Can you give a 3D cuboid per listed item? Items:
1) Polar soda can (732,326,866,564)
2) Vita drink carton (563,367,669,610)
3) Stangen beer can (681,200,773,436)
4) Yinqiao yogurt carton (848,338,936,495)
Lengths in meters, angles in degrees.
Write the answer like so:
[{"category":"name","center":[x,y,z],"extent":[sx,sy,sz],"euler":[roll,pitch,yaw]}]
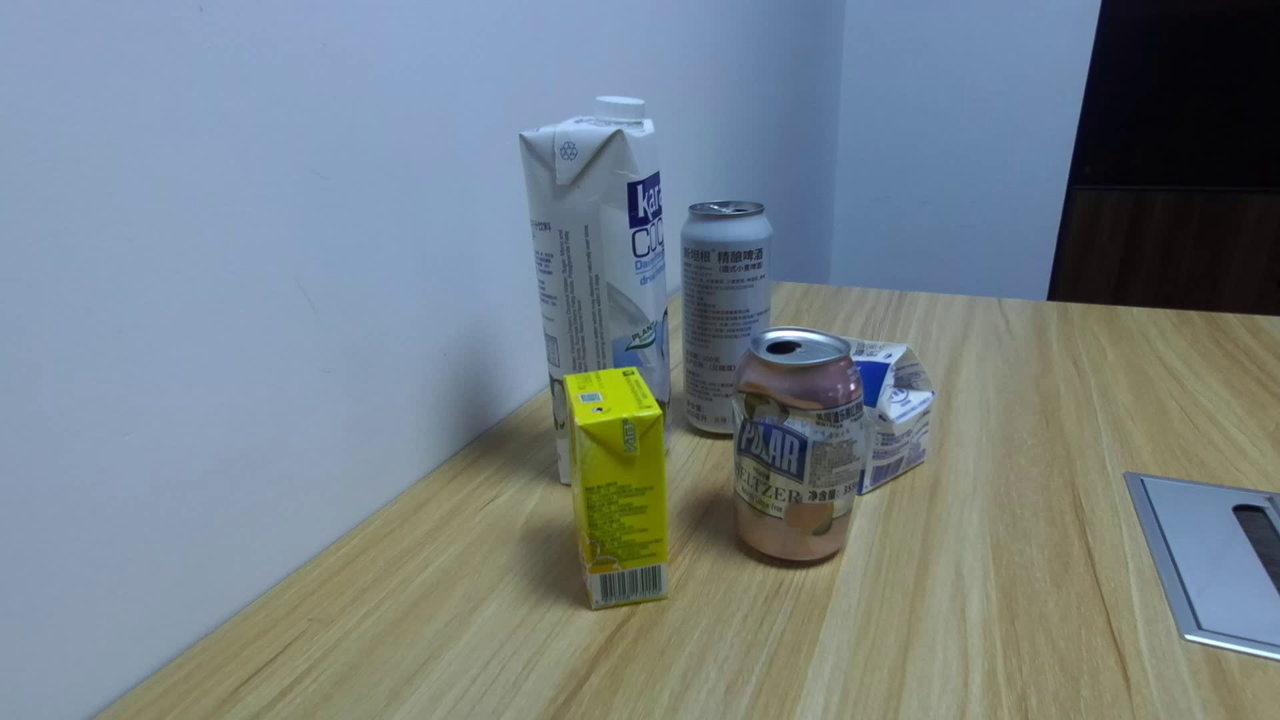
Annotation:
[{"category":"Polar soda can","center":[0.087,0.048,0.400],"extent":[0.067,0.122,0.074],"euler":[-1,23,2]},{"category":"Vita drink carton","center":[-0.014,0.066,0.379],"extent":[0.043,0.109,0.066],"euler":[-7,22,-11]},{"category":"Stangen beer can","center":[0.064,-0.029,0.528],"extent":[0.067,0.171,0.067],"euler":[-2,18,1]},{"category":"Yinqiao yogurt carton","center":[0.150,0.027,0.480],"extent":[0.077,0.093,0.082],"euler":[-18,26,-33]}]
